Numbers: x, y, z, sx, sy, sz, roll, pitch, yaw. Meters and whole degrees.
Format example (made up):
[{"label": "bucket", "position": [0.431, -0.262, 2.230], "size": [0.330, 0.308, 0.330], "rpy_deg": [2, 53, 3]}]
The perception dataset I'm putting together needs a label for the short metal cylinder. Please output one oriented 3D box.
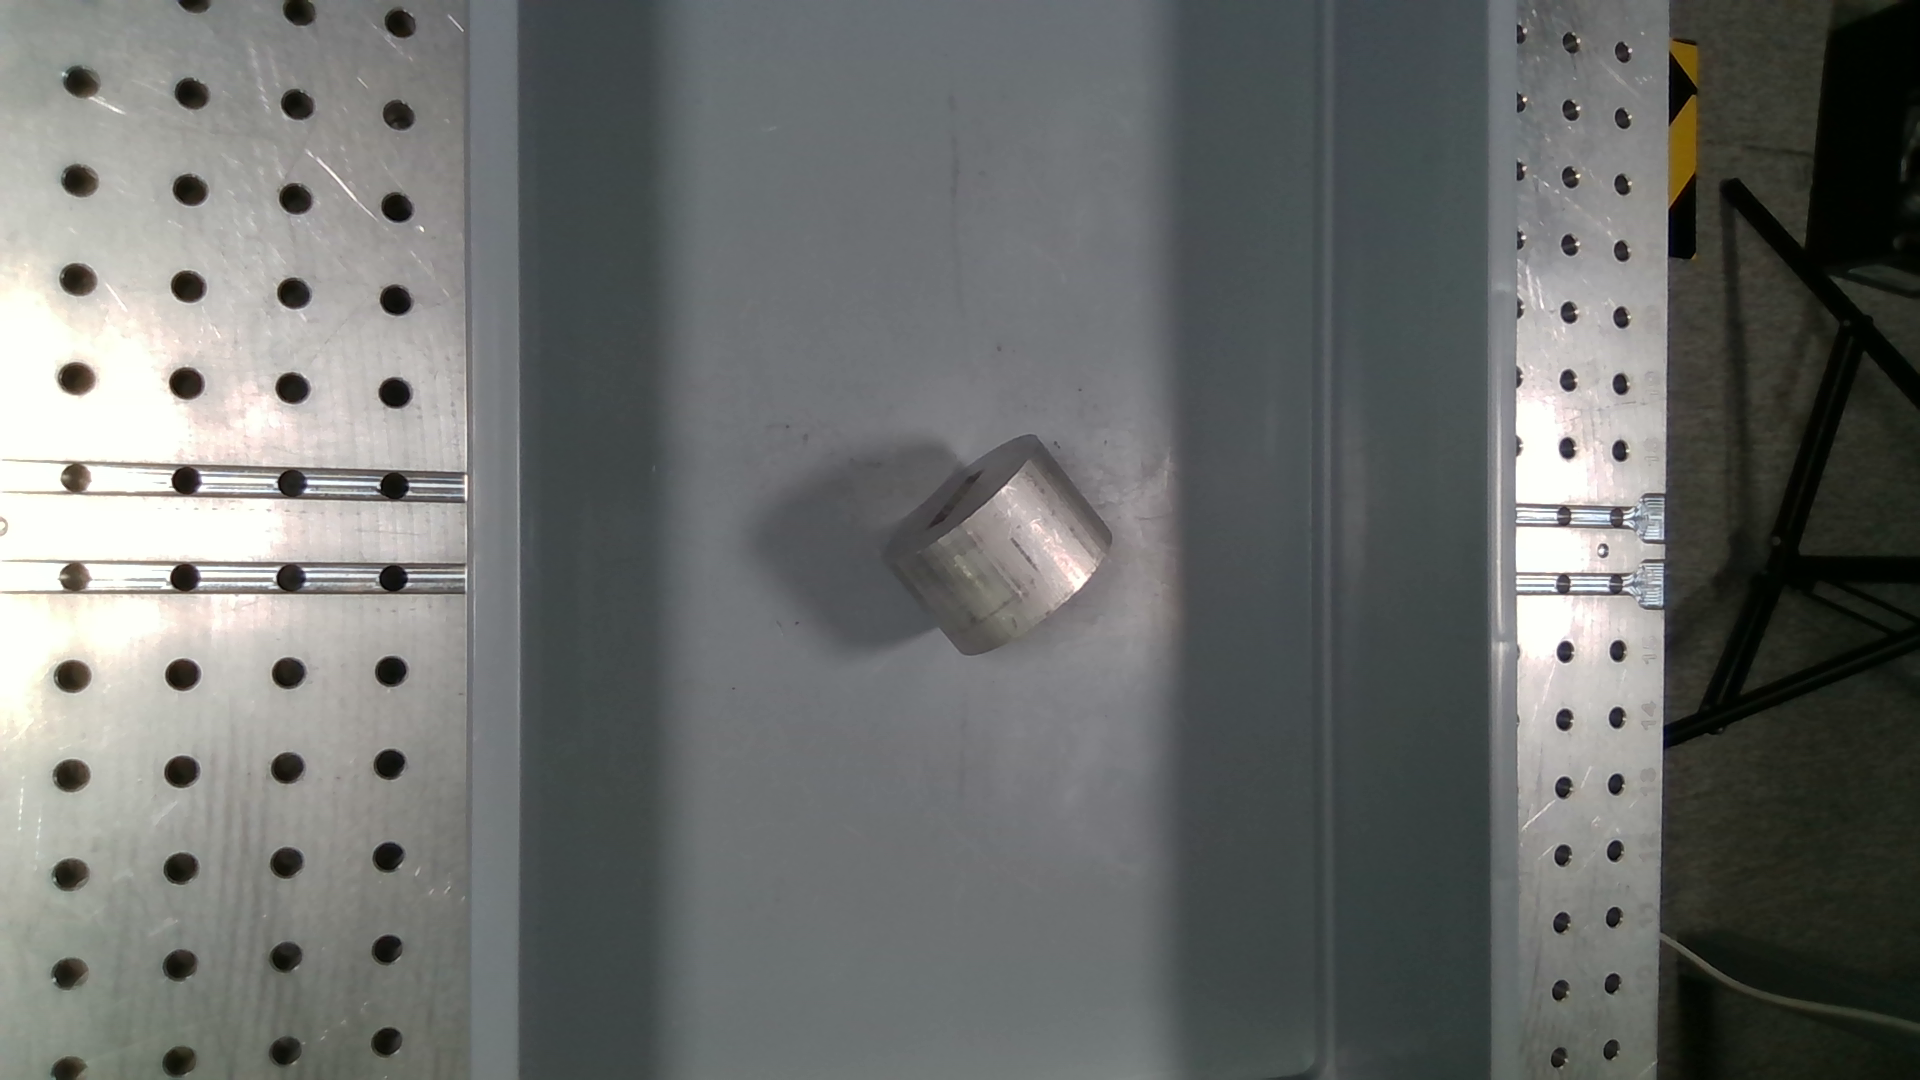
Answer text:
[{"label": "short metal cylinder", "position": [0.015, 0.001, 0.560], "size": [0.080, 0.080, 0.050], "rpy_deg": [-43, 104, -15]}]
